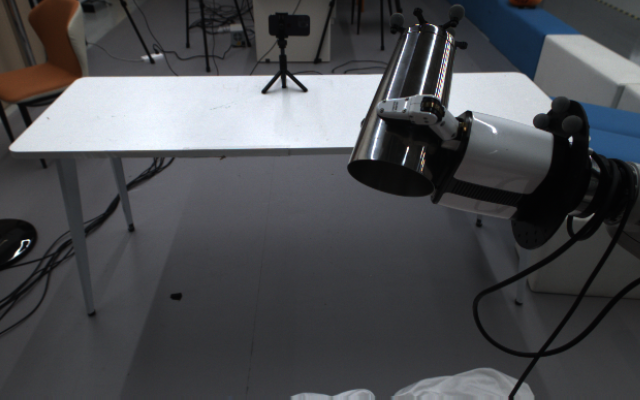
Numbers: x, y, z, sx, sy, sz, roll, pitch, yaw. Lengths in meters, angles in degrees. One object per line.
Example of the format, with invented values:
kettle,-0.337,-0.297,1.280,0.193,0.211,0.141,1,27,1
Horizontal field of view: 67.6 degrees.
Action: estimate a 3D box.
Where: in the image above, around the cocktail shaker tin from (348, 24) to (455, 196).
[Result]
cocktail shaker tin,0.098,-0.099,0.523,0.093,0.093,0.170,13,73,15
